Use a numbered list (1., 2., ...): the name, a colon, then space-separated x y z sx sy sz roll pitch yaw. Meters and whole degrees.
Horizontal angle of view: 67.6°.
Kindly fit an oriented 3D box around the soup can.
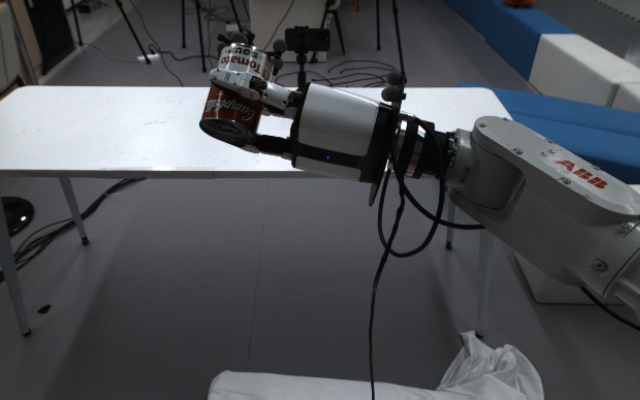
1. soup can: -0.098 -0.126 0.582 0.067 0.067 0.101 9 74 9
